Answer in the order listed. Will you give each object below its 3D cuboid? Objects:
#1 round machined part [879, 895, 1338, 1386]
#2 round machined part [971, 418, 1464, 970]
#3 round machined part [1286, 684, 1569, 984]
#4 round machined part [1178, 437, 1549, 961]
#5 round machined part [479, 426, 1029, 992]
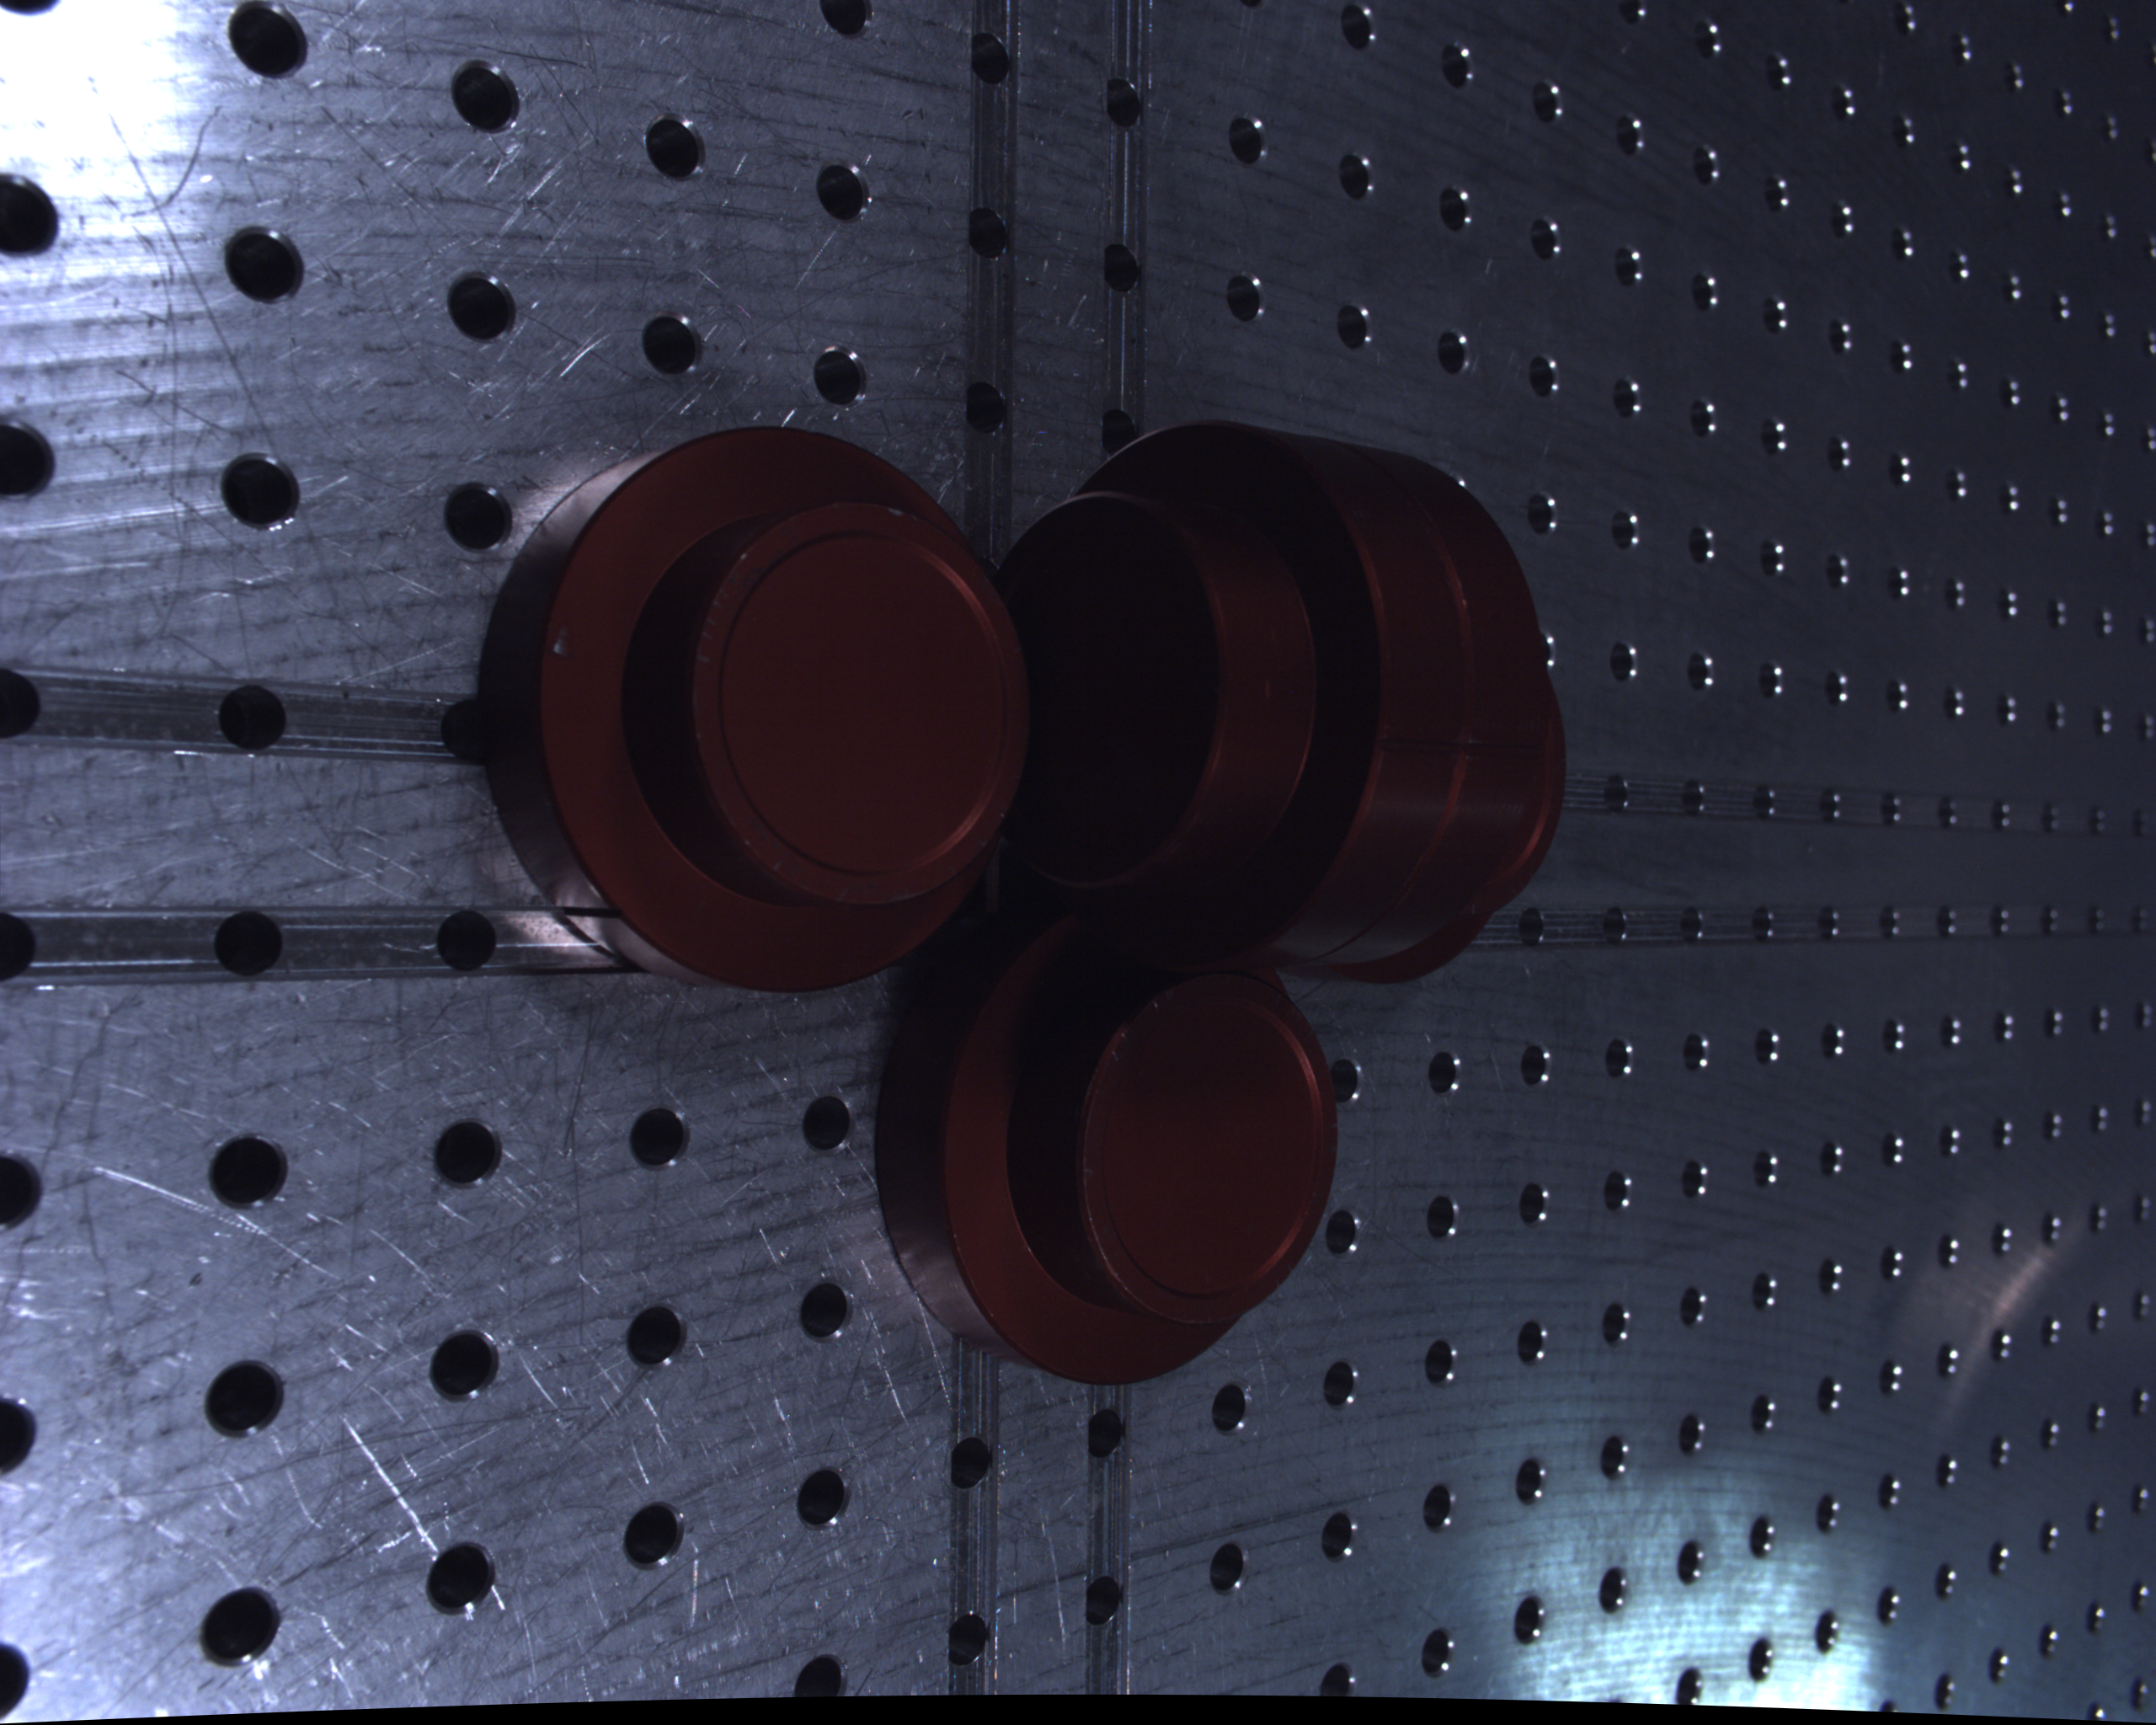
[{"bbox_3d":[0.013,0.054,0.411,0.099,0.042,0.097,0,90,-40],"label":"round machined part"},{"bbox_3d":[0.017,-0.030,0.369,0.042,0.098,0.097,2,89,-40],"label":"round machined part"},{"bbox_3d":[0.070,-0.022,0.459,0.099,0.042,0.097,0,90,-40],"label":"round machined part"},{"bbox_3d":[0.050,-0.030,0.398,0.042,0.098,0.097,-1,91,-40],"label":"round machined part"},{"bbox_3d":[-0.048,-0.026,0.359,0.099,0.042,0.097,0,90,-40],"label":"round machined part"}]
